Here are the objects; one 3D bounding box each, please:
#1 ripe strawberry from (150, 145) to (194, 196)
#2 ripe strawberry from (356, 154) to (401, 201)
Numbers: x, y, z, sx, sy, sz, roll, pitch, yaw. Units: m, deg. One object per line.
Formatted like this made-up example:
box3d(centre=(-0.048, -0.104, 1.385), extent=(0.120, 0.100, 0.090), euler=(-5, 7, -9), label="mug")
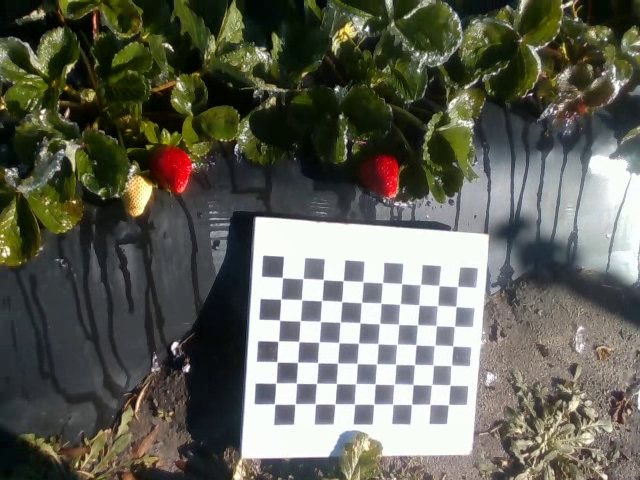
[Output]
box3d(centre=(-0.147, -0.066, 0.643), extent=(0.042, 0.061, 0.046), euler=(-13, -35, -15), label="ripe strawberry")
box3d(centre=(0.074, -0.071, 0.700), extent=(0.048, 0.061, 0.044), euler=(-5, -28, -16), label="ripe strawberry")
